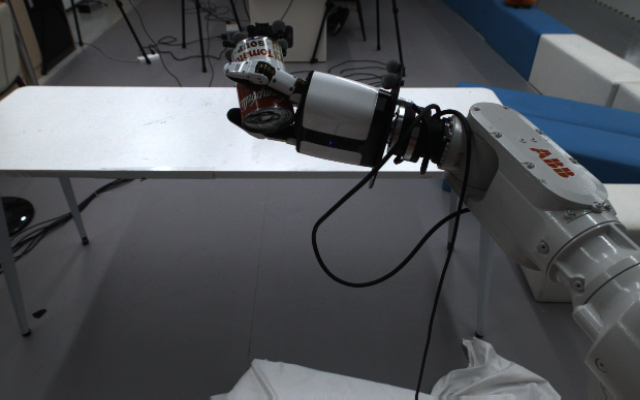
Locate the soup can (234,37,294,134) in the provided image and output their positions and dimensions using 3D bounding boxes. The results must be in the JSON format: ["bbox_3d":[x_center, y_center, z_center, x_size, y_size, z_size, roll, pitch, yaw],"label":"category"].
[{"bbox_3d":[-0.072,-0.145,0.615,0.067,0.067,0.101,-8,74,-14],"label":"soup can"}]
